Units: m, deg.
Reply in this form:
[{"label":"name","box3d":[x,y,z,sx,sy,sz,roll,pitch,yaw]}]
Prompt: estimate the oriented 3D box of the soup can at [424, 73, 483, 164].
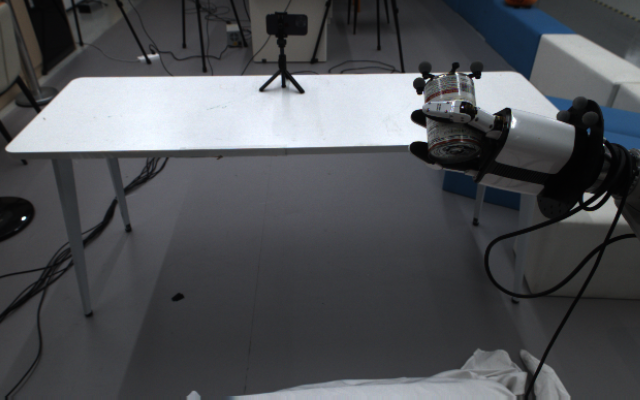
[{"label":"soup can","box3d":[0.176,-0.108,0.641,0.067,0.067,0.101,1,72,-2]}]
